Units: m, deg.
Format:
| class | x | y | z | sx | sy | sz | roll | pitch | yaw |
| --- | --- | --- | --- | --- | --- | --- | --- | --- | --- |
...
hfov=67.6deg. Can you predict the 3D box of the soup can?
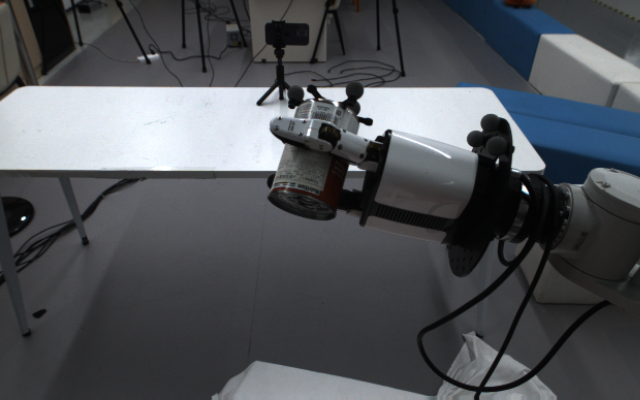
| class | x | y | z | sx | sy | sz | roll | pitch | yaw |
| --- | --- | --- | --- | --- | --- | --- | --- | --- | --- |
| soup can | -0.002 | -0.040 | 0.476 | 0.067 | 0.067 | 0.101 | 11 | 72 | 13 |
